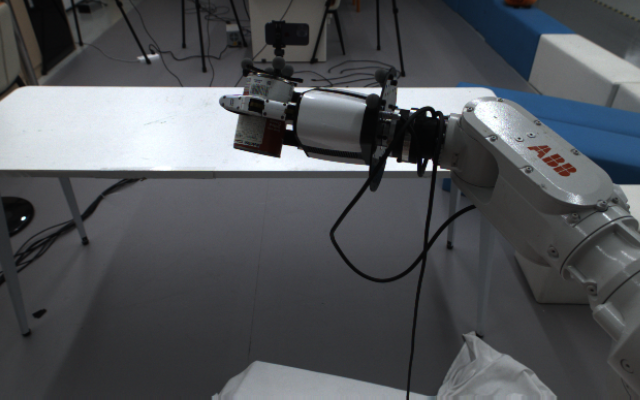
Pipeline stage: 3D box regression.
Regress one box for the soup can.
[{"bbox_3d":[-0.076,-0.113,0.658,0.067,0.101,0.067,11,2,0],"label":"soup can"}]
